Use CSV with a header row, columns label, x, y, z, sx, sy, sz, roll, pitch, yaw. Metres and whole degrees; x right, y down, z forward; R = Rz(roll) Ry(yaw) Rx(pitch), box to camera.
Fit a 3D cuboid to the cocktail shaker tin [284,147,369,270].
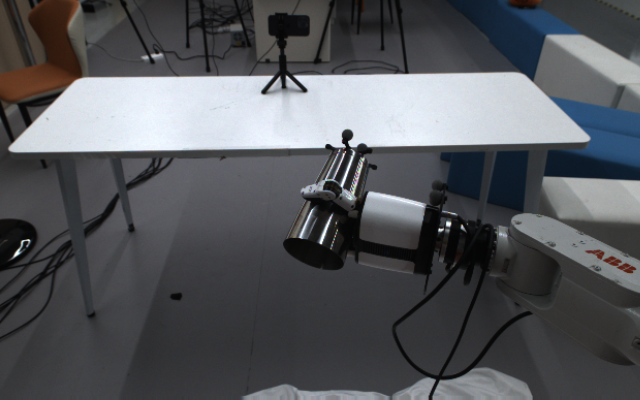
label,x,y,z,sx,sy,sz,roll,pitch,yaw
cocktail shaker tin,0.016,0.007,0.719,0.093,0.093,0.170,14,61,17
